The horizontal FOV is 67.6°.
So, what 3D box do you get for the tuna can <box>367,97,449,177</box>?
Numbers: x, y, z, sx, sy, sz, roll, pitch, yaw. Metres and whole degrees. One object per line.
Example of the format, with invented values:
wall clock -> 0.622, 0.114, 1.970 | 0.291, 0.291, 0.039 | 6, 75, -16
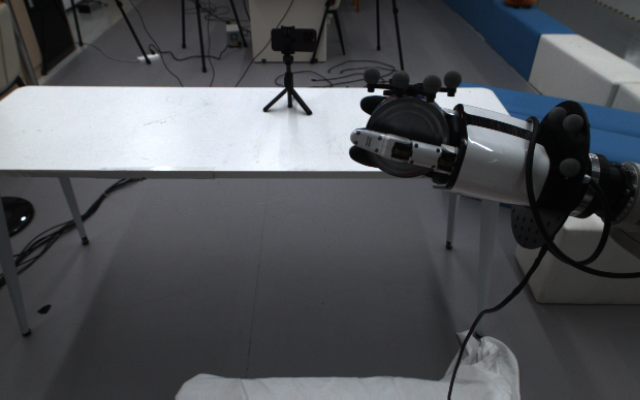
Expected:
tuna can -> 0.092, -0.070, 0.511 | 0.085, 0.085, 0.034 | 9, 24, 10
